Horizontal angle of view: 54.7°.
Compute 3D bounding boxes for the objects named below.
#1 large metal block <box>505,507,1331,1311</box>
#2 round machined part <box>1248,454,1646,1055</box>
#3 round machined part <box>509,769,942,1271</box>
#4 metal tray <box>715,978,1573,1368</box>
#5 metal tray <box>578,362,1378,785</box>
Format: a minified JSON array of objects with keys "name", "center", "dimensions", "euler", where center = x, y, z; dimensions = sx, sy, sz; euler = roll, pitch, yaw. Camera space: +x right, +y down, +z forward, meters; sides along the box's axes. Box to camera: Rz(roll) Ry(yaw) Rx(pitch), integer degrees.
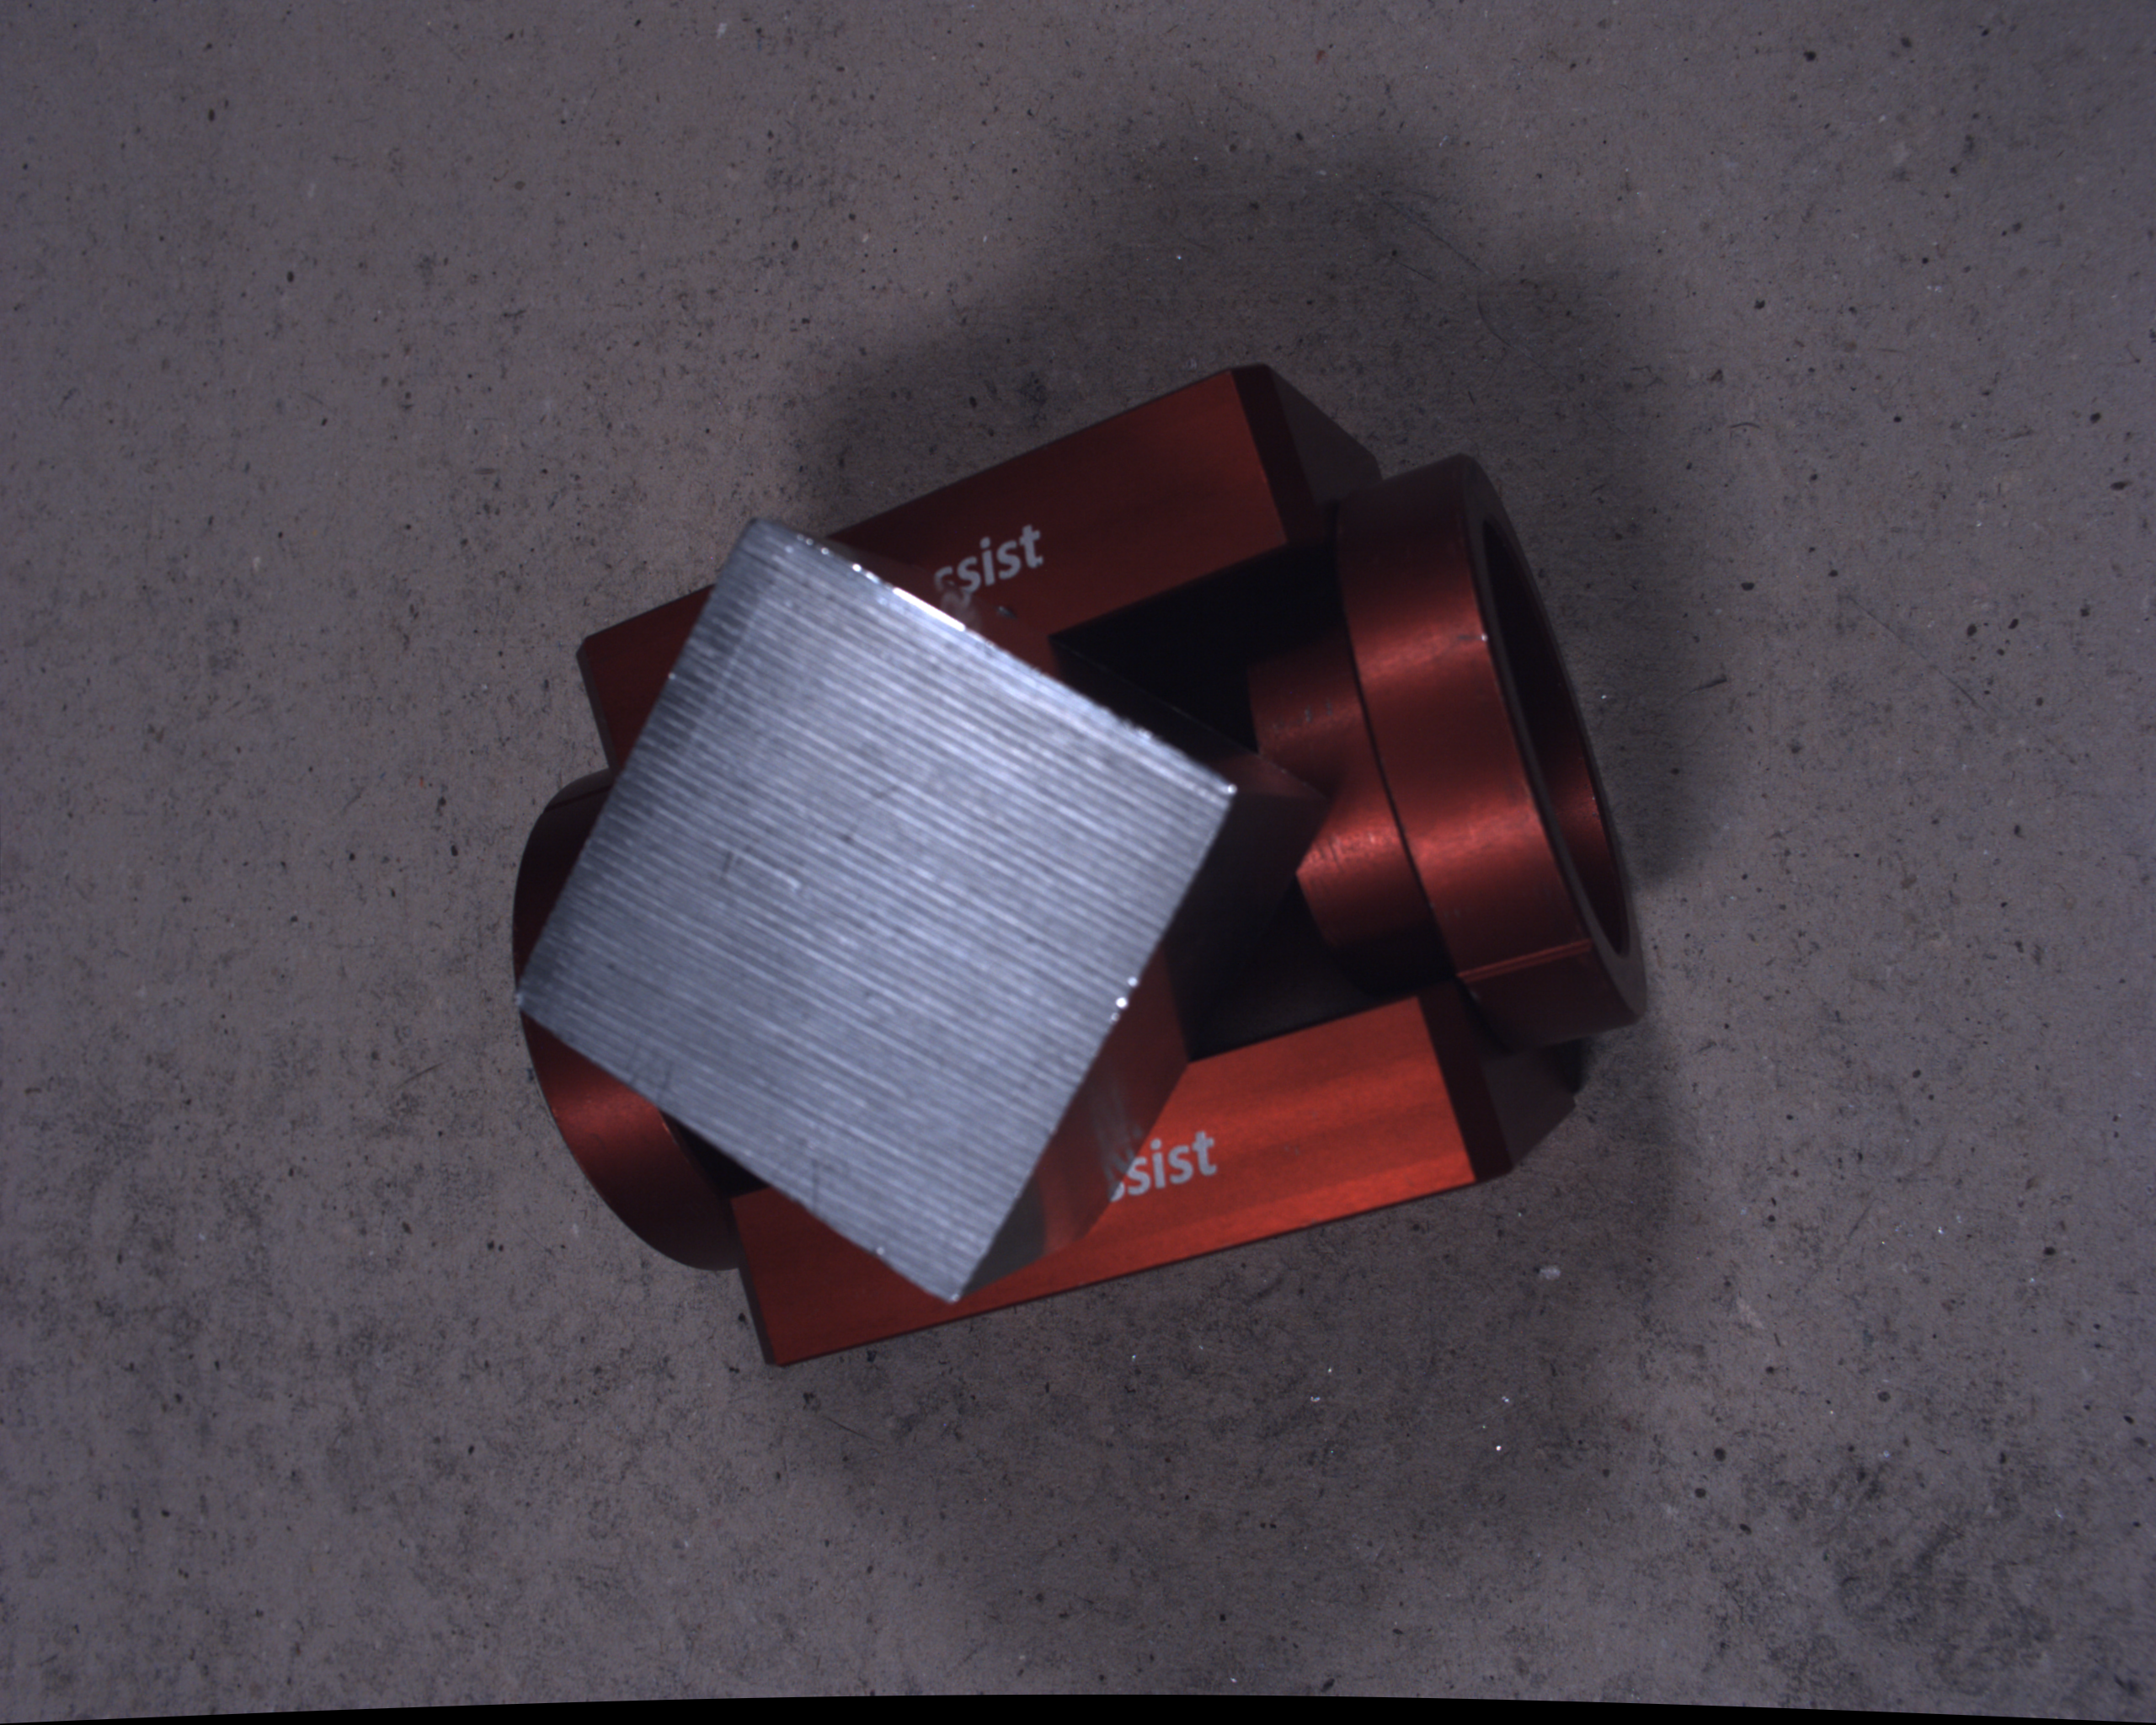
[{"name":"large metal block","center":[-0.022,0.005,0.306],"dimensions":[0.080,0.050,0.080],"euler":[31,100,17]},{"name":"round machined part","center":[0.060,-0.015,0.349],"dimensions":[0.042,0.098,0.097],"euler":[-16,85,19]},{"name":"round machined part","center":[-0.059,0.024,0.391],"dimensions":[0.042,0.098,0.097],"euler":[-16,85,19]},{"name":"metal tray","center":[0.015,0.051,0.368],"dimensions":[0.130,0.090,0.030],"euler":[-18,84,18]},{"name":"metal tray","center":[-0.011,-0.044,0.380],"dimensions":[0.130,0.090,0.030],"euler":[-19,84,18]}]
